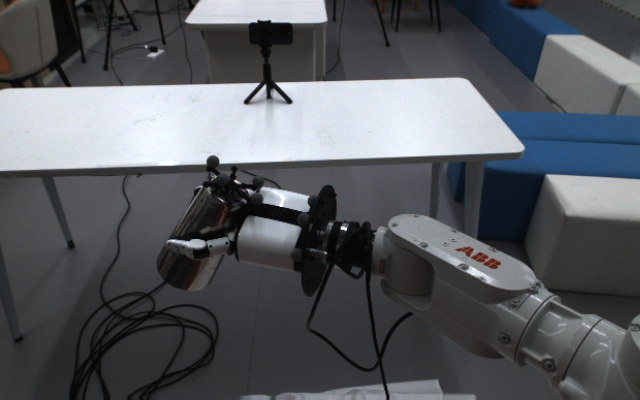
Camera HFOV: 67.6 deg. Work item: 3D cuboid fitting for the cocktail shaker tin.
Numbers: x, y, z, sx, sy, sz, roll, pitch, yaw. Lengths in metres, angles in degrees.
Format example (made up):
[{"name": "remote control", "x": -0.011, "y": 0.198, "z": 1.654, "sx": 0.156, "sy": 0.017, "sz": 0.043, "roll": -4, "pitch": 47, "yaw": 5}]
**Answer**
[{"name": "cocktail shaker tin", "x": -0.170, "y": 0.044, "z": 0.716, "sx": 0.093, "sy": 0.170, "sz": 0.093, "roll": 26, "pitch": 33, "yaw": -18}]
